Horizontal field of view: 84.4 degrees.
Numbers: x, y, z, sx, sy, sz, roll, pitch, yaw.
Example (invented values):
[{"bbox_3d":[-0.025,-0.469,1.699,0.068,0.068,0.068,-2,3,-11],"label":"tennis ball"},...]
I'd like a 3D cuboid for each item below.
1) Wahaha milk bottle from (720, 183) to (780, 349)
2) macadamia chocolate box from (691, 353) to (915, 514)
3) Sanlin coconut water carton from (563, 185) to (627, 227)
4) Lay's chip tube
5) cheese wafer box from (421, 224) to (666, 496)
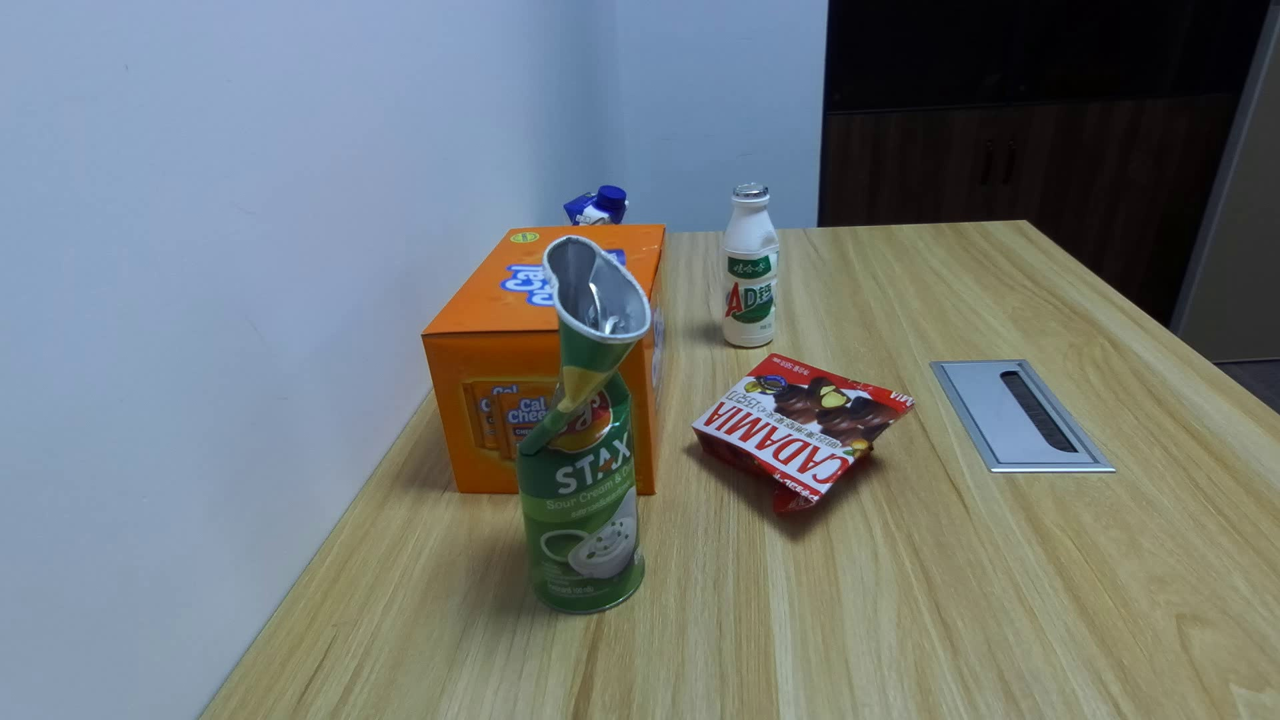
[{"bbox_3d":[0.103,-0.081,0.657,0.053,0.137,0.053,-2,27,1],"label":"Wahaha milk bottle"},{"bbox_3d":[0.107,0.050,0.496,0.112,0.056,0.126,-23,33,-33],"label":"macadamia chocolate box"},{"bbox_3d":[-0.041,-0.109,0.732,0.057,0.142,0.078,13,32,23],"label":"Sanlin coconut water carton"},{"bbox_3d":[-0.027,0.044,0.378,0.071,0.199,0.079,14,34,18],"label":"Lay's chip tube"},{"bbox_3d":[-0.054,-0.012,0.560,0.148,0.129,0.221,-1,28,7],"label":"cheese wafer box"}]
